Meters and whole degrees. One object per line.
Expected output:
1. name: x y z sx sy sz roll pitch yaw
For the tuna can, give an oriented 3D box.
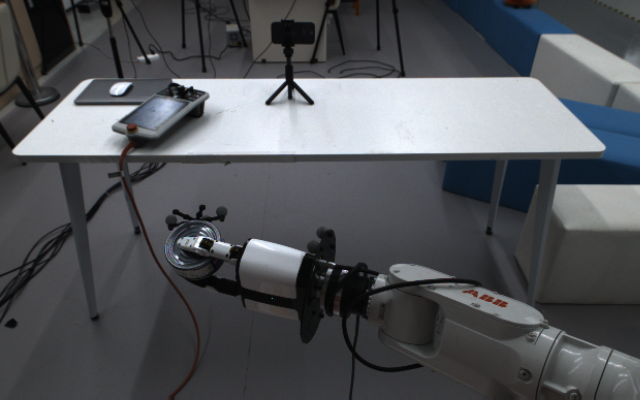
1. tuna can: -0.181 0.080 0.715 0.085 0.034 0.085 -3 60 5
